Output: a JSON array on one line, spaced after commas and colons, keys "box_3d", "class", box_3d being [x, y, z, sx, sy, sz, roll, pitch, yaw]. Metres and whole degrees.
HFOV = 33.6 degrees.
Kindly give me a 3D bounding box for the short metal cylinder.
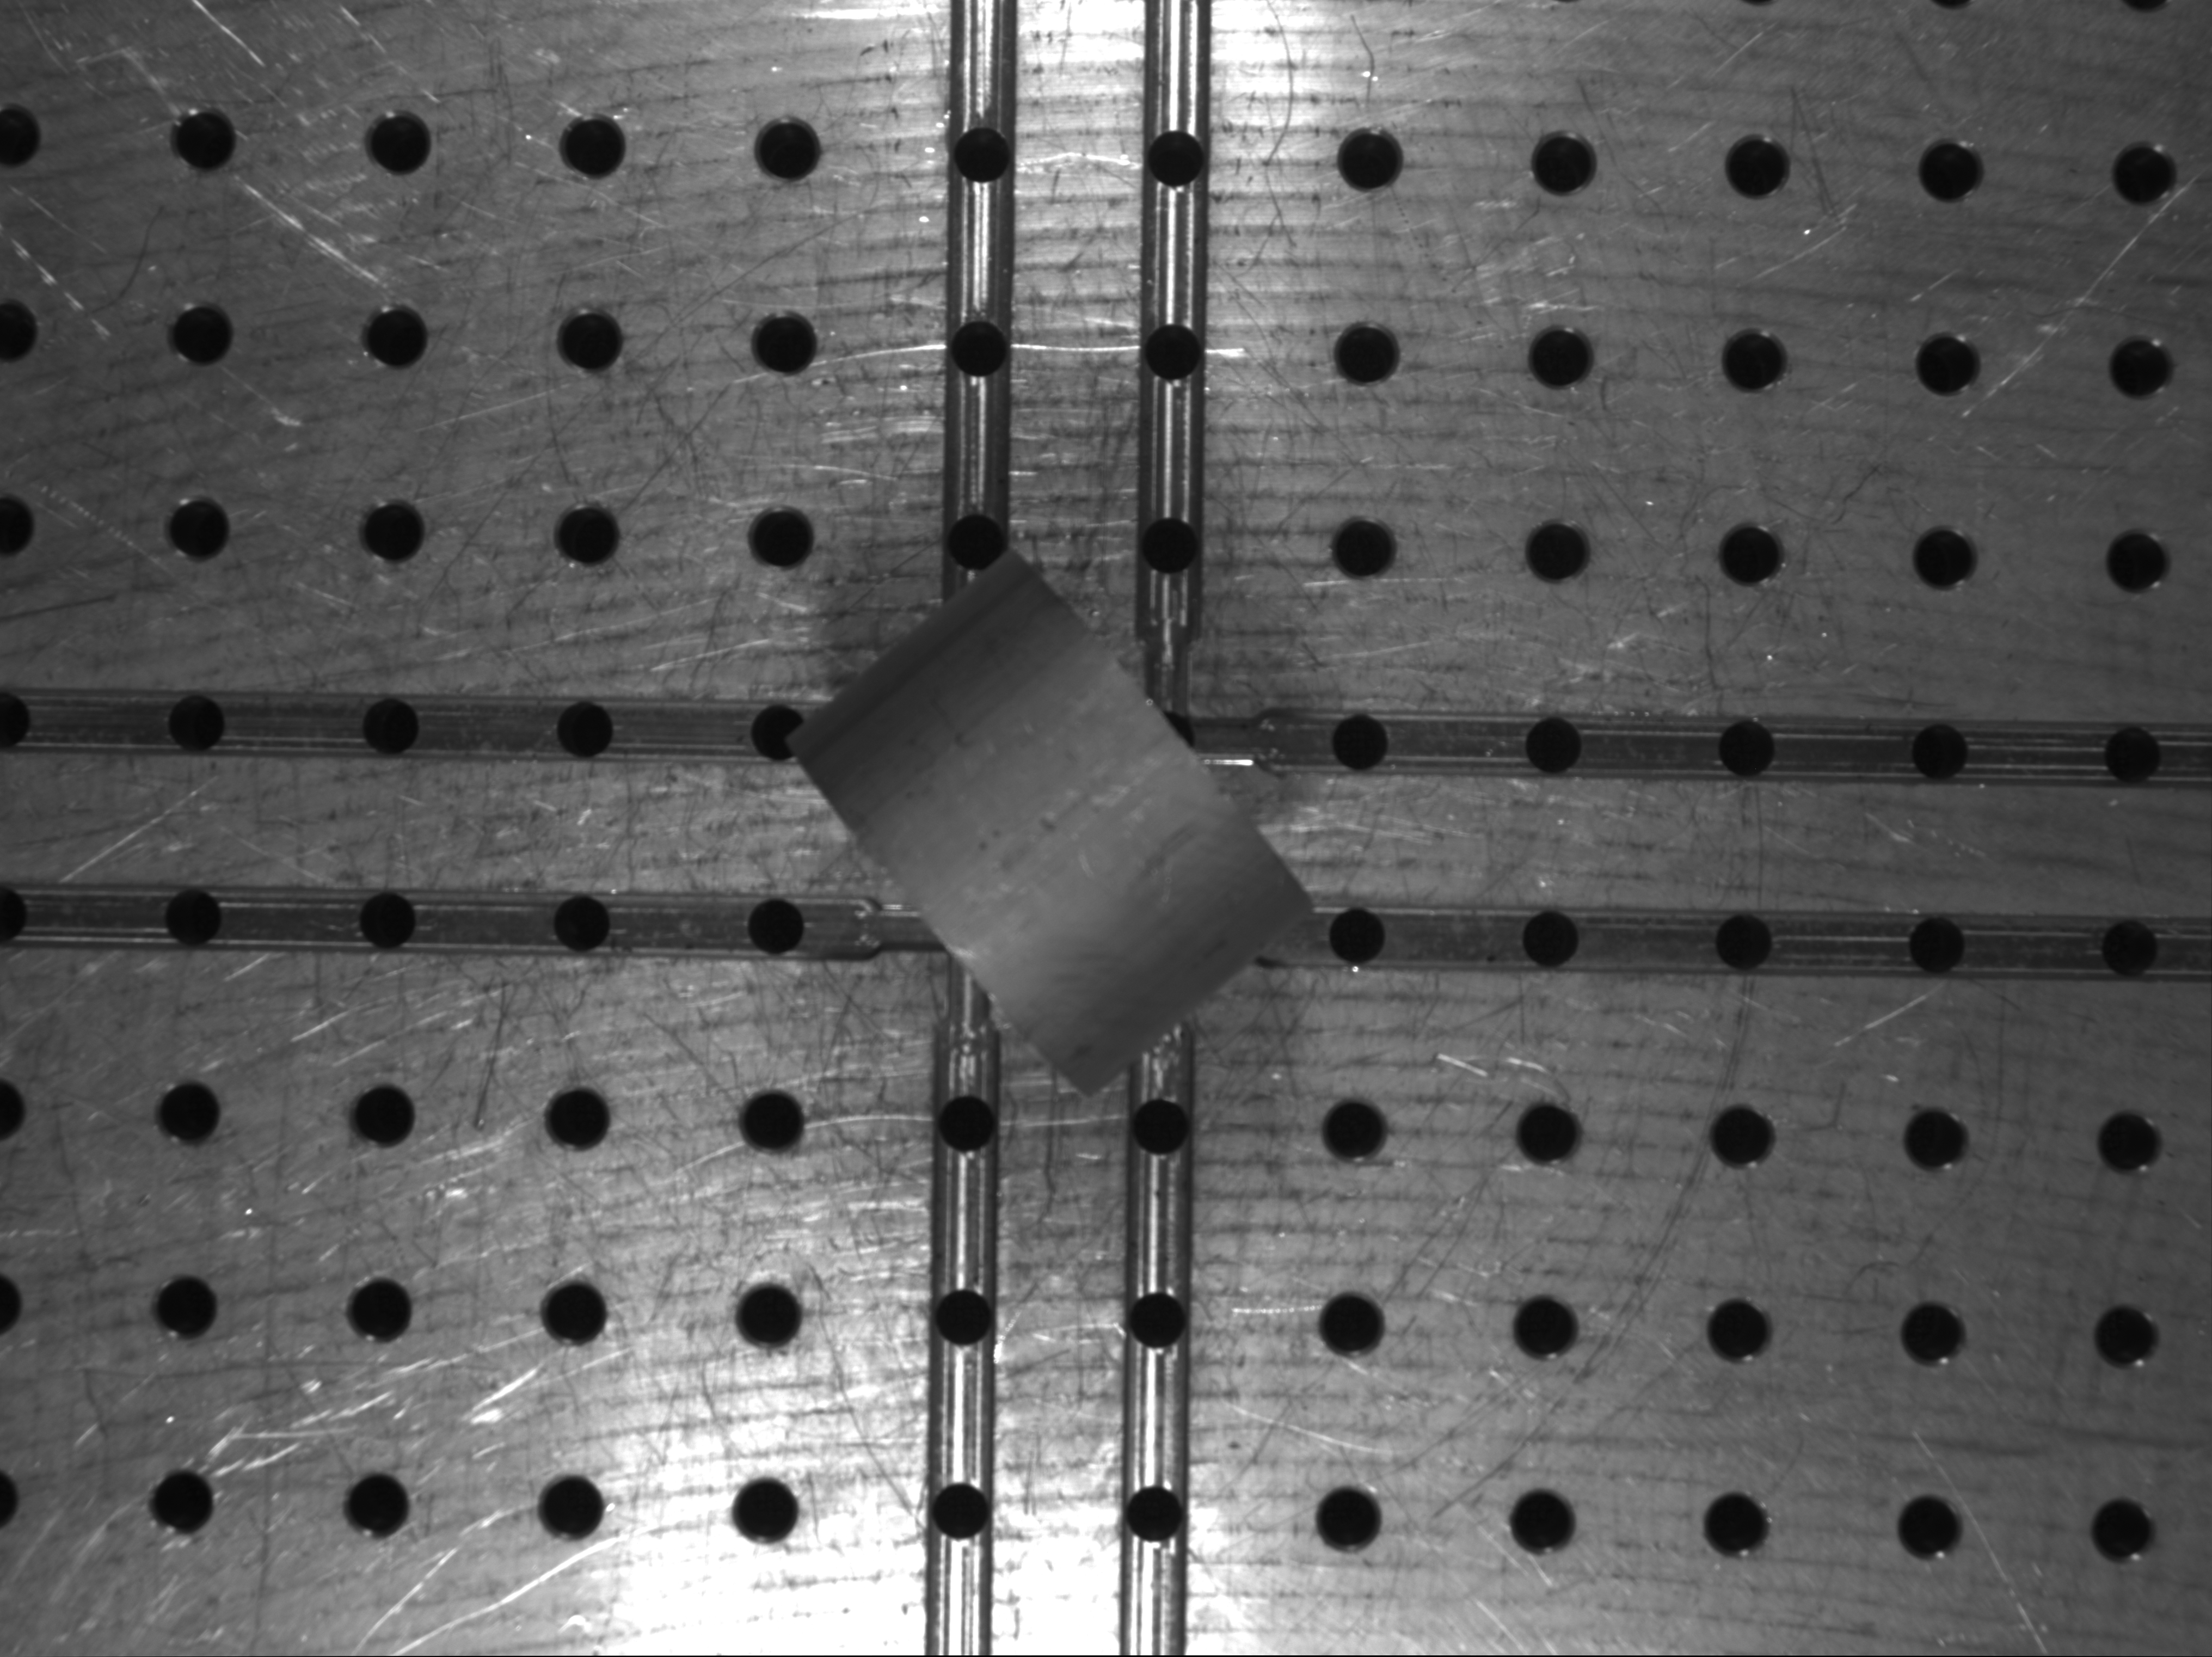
[{"box_3d": [-0.009, -0.001, 0.619, 0.050, 0.080, 0.080, -40, 90, 0], "class": "short metal cylinder"}]
